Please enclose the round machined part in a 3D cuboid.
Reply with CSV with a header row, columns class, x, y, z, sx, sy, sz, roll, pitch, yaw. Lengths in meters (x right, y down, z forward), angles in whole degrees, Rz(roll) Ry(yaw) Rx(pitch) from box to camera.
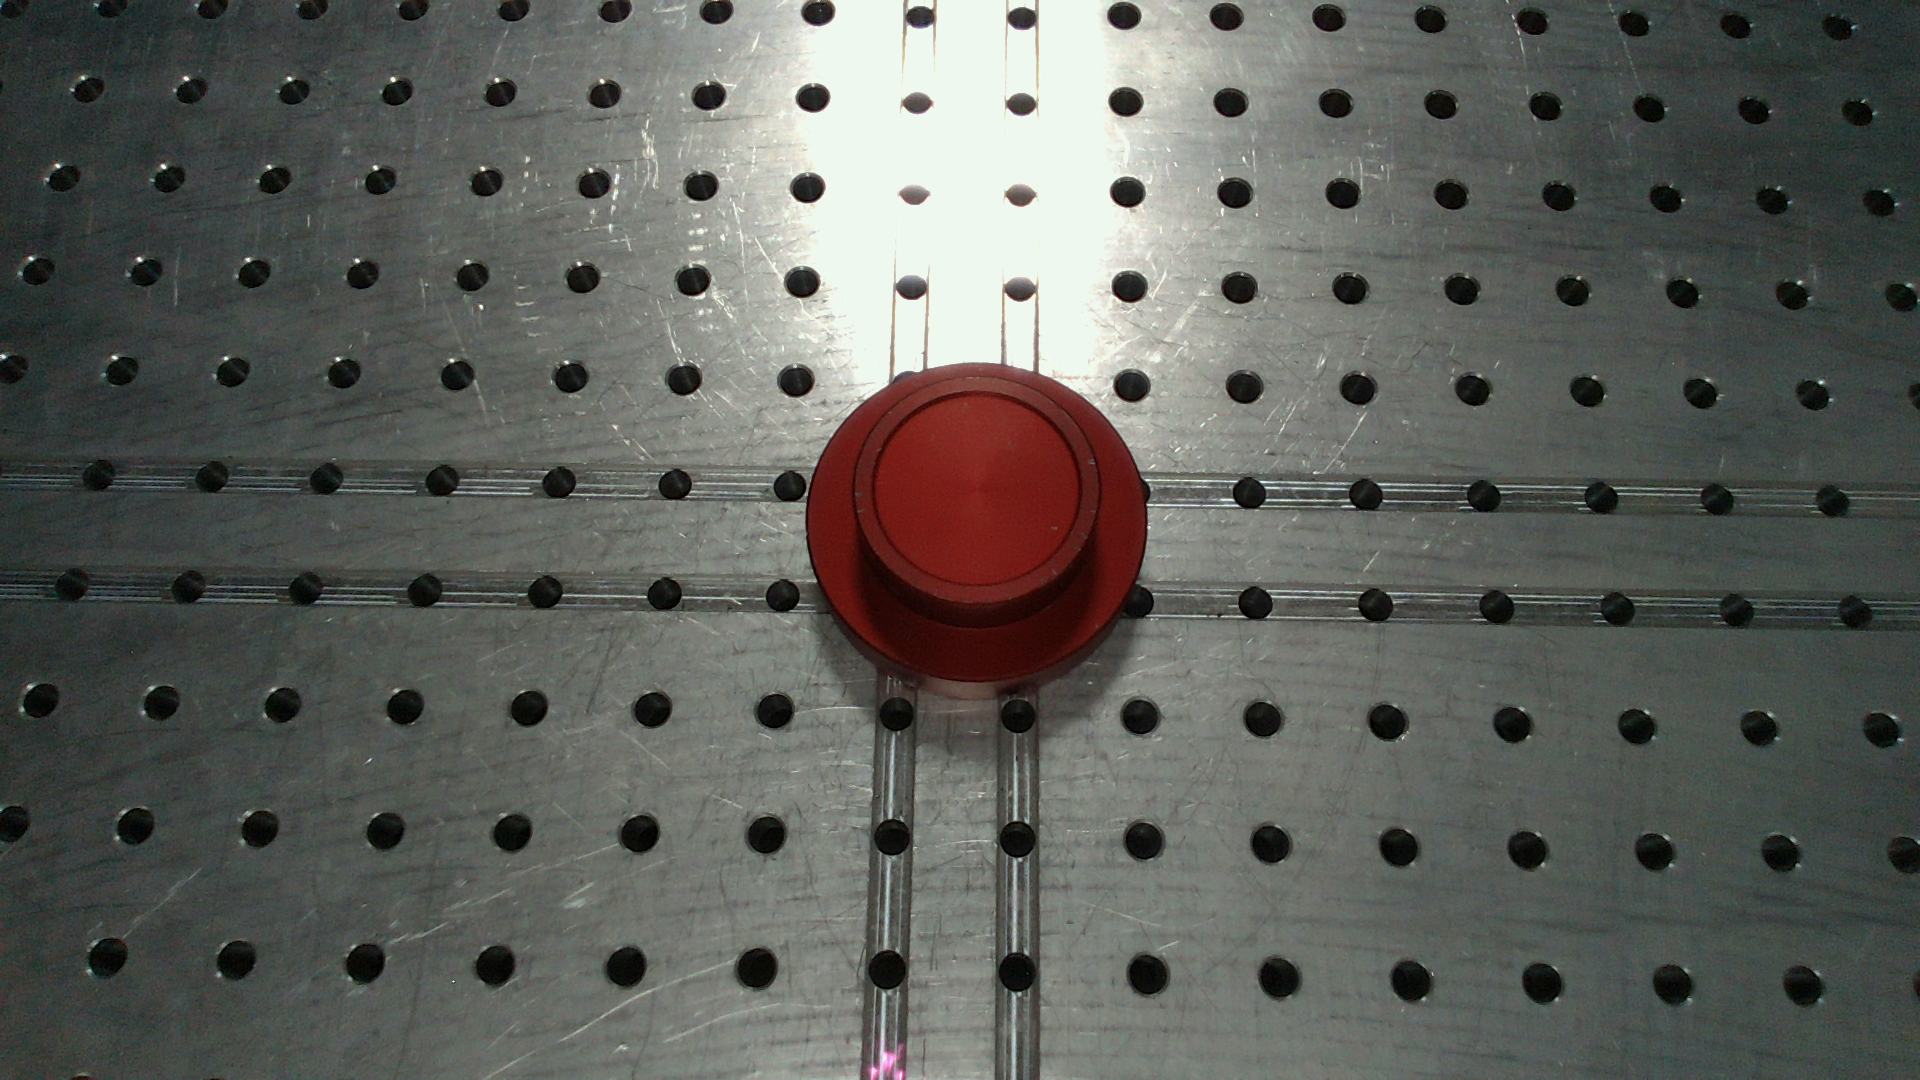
class,x,y,z,sx,sy,sz,roll,pitch,yaw
round machined part,0.004,-0.008,0.390,0.098,0.042,0.098,0,70,0
